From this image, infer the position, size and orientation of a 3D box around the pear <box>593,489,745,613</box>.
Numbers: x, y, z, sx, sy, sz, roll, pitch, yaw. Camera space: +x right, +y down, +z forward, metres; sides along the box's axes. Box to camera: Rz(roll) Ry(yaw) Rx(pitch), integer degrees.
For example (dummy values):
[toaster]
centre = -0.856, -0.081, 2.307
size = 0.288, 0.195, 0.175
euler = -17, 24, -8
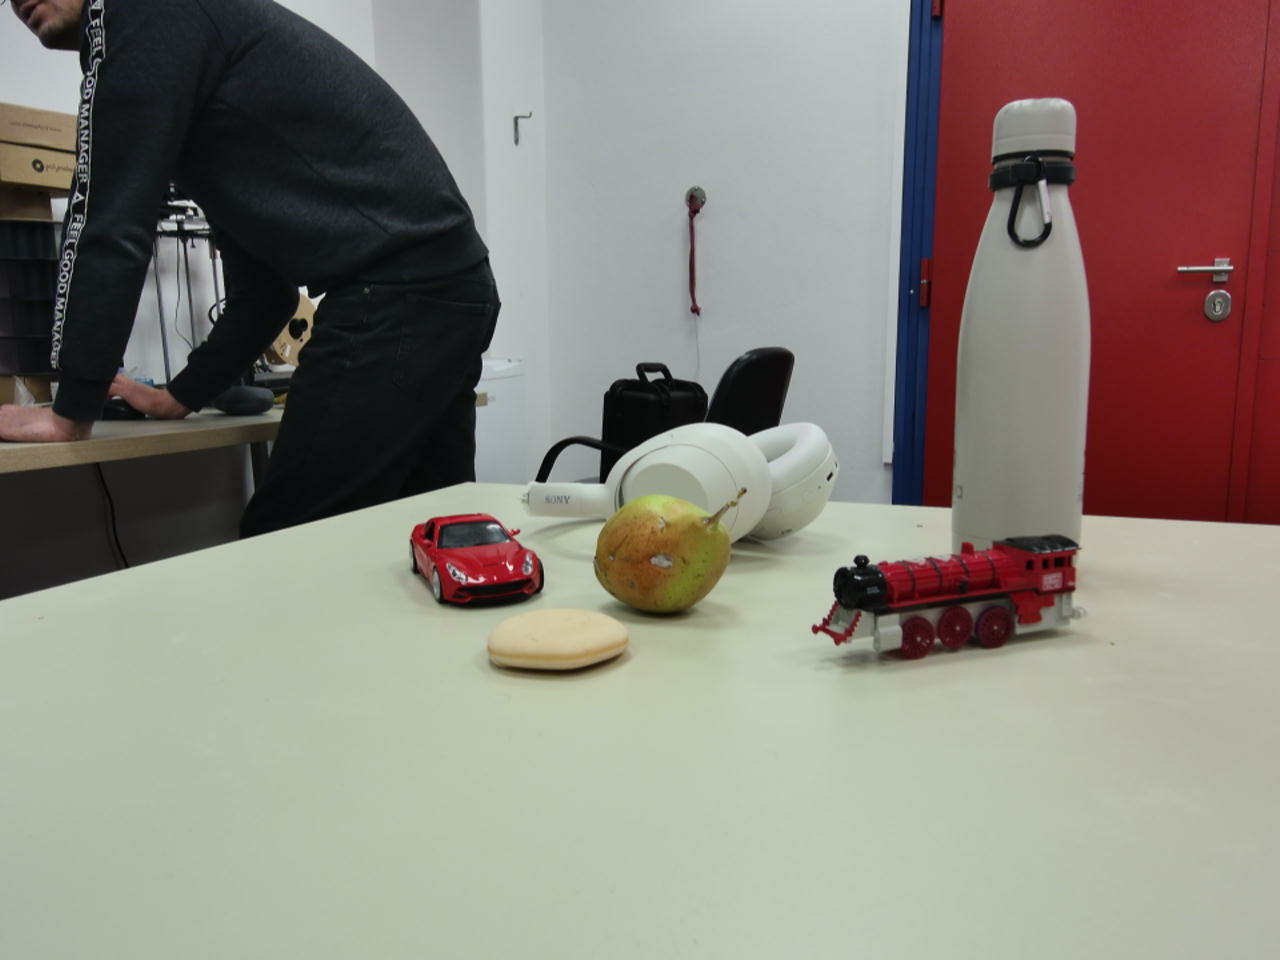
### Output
[pear]
centre = 0.012, 0.036, 0.530
size = 0.068, 0.069, 0.070
euler = -1, 6, -15
